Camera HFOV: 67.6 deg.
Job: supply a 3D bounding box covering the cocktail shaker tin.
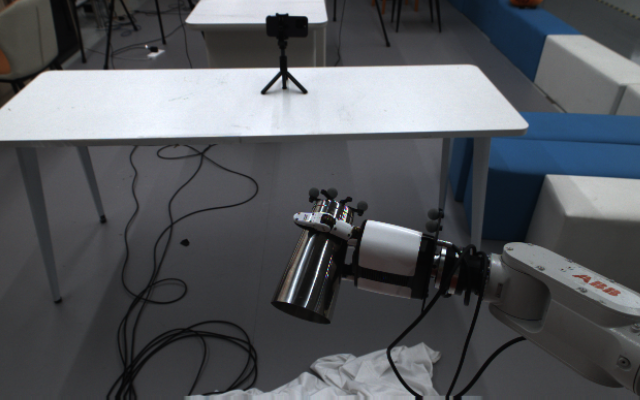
[{"bbox_3d":[0.000,0.085,0.725,0.093,0.093,0.170,12,65,15],"label":"cocktail shaker tin"}]
